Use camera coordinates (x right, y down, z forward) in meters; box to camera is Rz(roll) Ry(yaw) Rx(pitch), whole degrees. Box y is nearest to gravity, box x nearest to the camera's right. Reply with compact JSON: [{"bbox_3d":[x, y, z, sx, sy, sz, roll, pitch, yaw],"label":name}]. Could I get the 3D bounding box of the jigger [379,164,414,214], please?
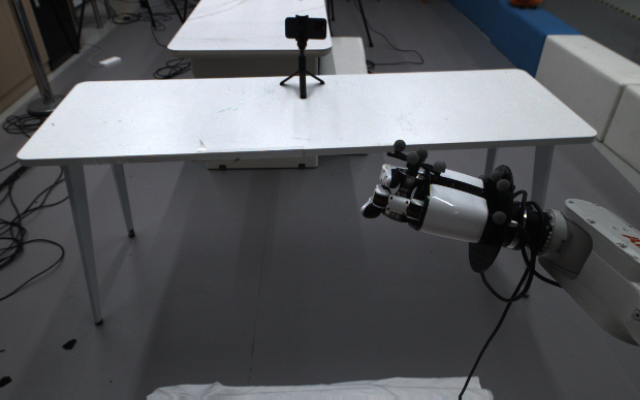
[{"bbox_3d":[0.121,-0.007,0.700,0.043,0.071,0.043,18,17,-6],"label":"jigger"}]
